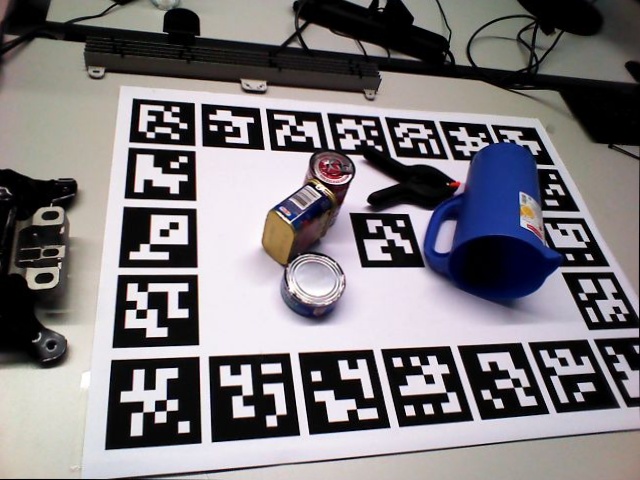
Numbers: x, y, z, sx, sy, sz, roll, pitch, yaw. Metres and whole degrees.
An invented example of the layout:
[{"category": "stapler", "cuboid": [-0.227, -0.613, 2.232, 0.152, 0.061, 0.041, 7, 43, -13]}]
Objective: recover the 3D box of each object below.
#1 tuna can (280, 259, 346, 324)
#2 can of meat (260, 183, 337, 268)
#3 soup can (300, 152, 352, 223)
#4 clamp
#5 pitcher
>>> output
[{"category": "tuna can", "cuboid": [-0.011, 0.070, 0.704, 0.086, 0.034, 0.085, 7, 56, -10]}, {"category": "can of meat", "cuboid": [-0.032, -0.017, 0.714, 0.083, 0.102, 0.058, -36, 71, -28]}, {"category": "soup can", "cuboid": [0.003, -0.071, 0.767, 0.068, 0.102, 0.067, 5, 56, -8]}, {"category": "clamp", "cuboid": [0.138, -0.094, 0.870, 0.165, 0.037, 0.121, 4, 50, -16]}, {"category": "pitcher", "cuboid": [0.275, -0.037, 0.788, 0.190, 0.133, 0.241, 4, 44, 15]}]
